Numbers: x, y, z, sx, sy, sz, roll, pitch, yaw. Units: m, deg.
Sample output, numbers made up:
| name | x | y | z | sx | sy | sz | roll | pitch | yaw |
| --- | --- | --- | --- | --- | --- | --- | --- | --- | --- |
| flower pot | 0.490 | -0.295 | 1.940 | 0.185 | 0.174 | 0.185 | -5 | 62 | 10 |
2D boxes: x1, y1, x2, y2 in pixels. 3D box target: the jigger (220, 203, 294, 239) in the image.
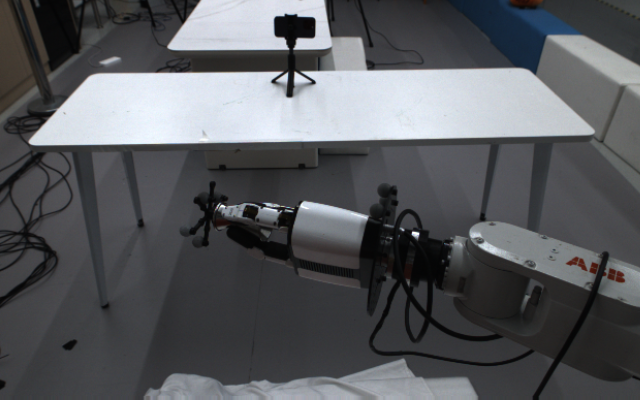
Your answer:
| name | x | y | z | sx | sy | sz | roll | pitch | yaw |
| --- | --- | --- | --- | --- | --- | --- | --- | --- | --- |
| jigger | -0.094 | 0.024 | 0.630 | 0.071 | 0.043 | 0.043 | 10 | 35 | 16 |
